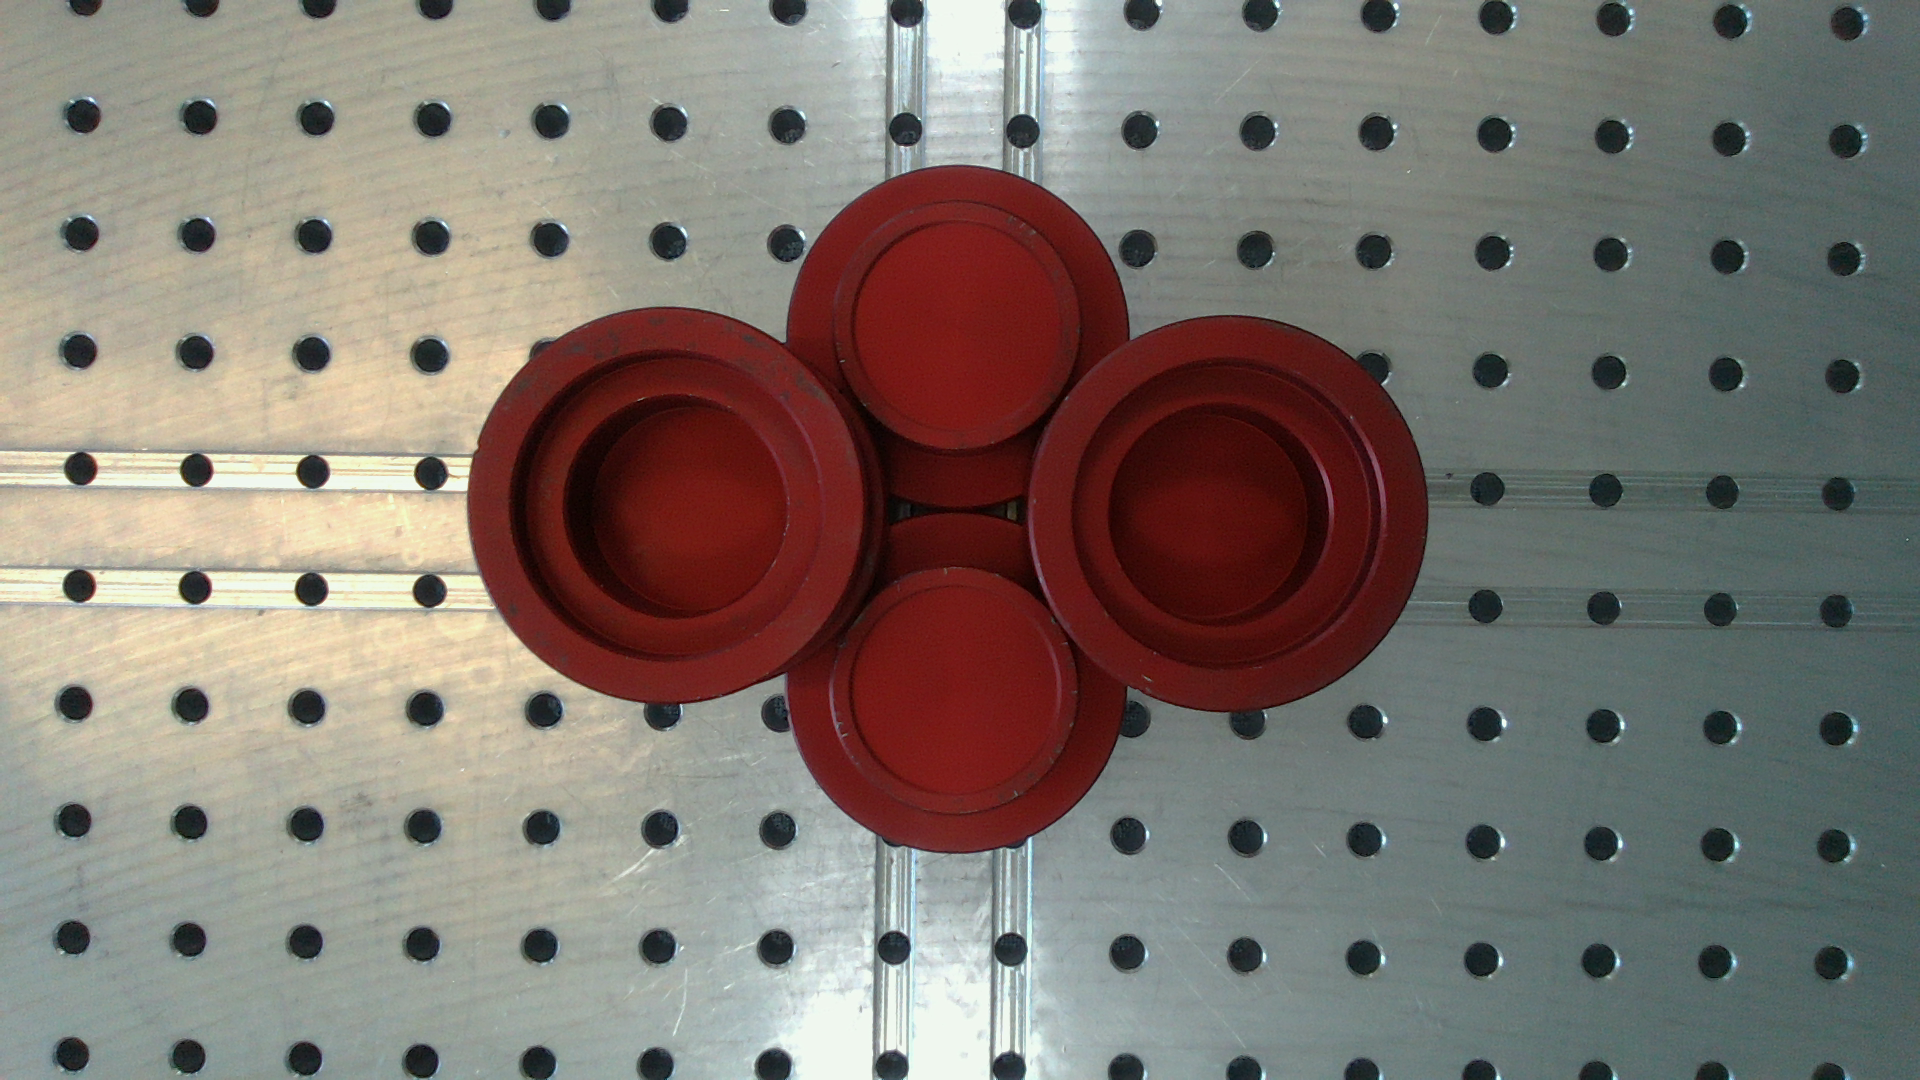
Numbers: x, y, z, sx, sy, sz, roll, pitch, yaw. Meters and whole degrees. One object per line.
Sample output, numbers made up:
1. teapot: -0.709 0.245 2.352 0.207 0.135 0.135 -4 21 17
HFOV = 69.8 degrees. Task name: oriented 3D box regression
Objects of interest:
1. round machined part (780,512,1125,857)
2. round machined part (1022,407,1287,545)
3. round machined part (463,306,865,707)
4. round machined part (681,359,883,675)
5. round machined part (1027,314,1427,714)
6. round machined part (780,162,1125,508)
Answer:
1. round machined part: -0.002 0.041 0.388 0.098 0.042 0.098 0 90 0
2. round machined part: 0.066 -0.008 0.389 0.098 0.042 0.098 0 90 0
3. round machined part: -0.072 -0.008 0.356 0.098 0.042 0.098 0 90 0
4. round machined part: -0.070 -0.008 0.388 0.098 0.042 0.098 0 90 0
5. round machined part: 0.066 -0.006 0.357 0.098 0.042 0.098 0 90 0
6. round machined part: -0.002 -0.058 0.388 0.098 0.042 0.098 0 90 0
